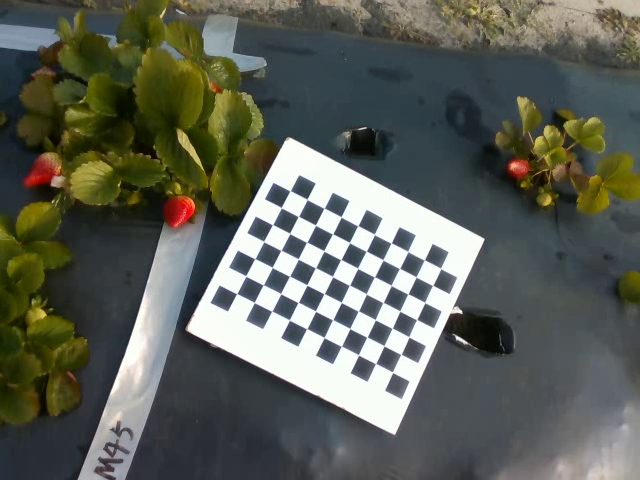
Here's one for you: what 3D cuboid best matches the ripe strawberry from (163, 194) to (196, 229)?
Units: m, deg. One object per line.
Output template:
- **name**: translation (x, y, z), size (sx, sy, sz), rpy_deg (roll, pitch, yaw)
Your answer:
- **ripe strawberry**: translation (-0.162, -0.030, 0.687), size (0.050, 0.055, 0.036), rpy_deg (23, -28, -10)
